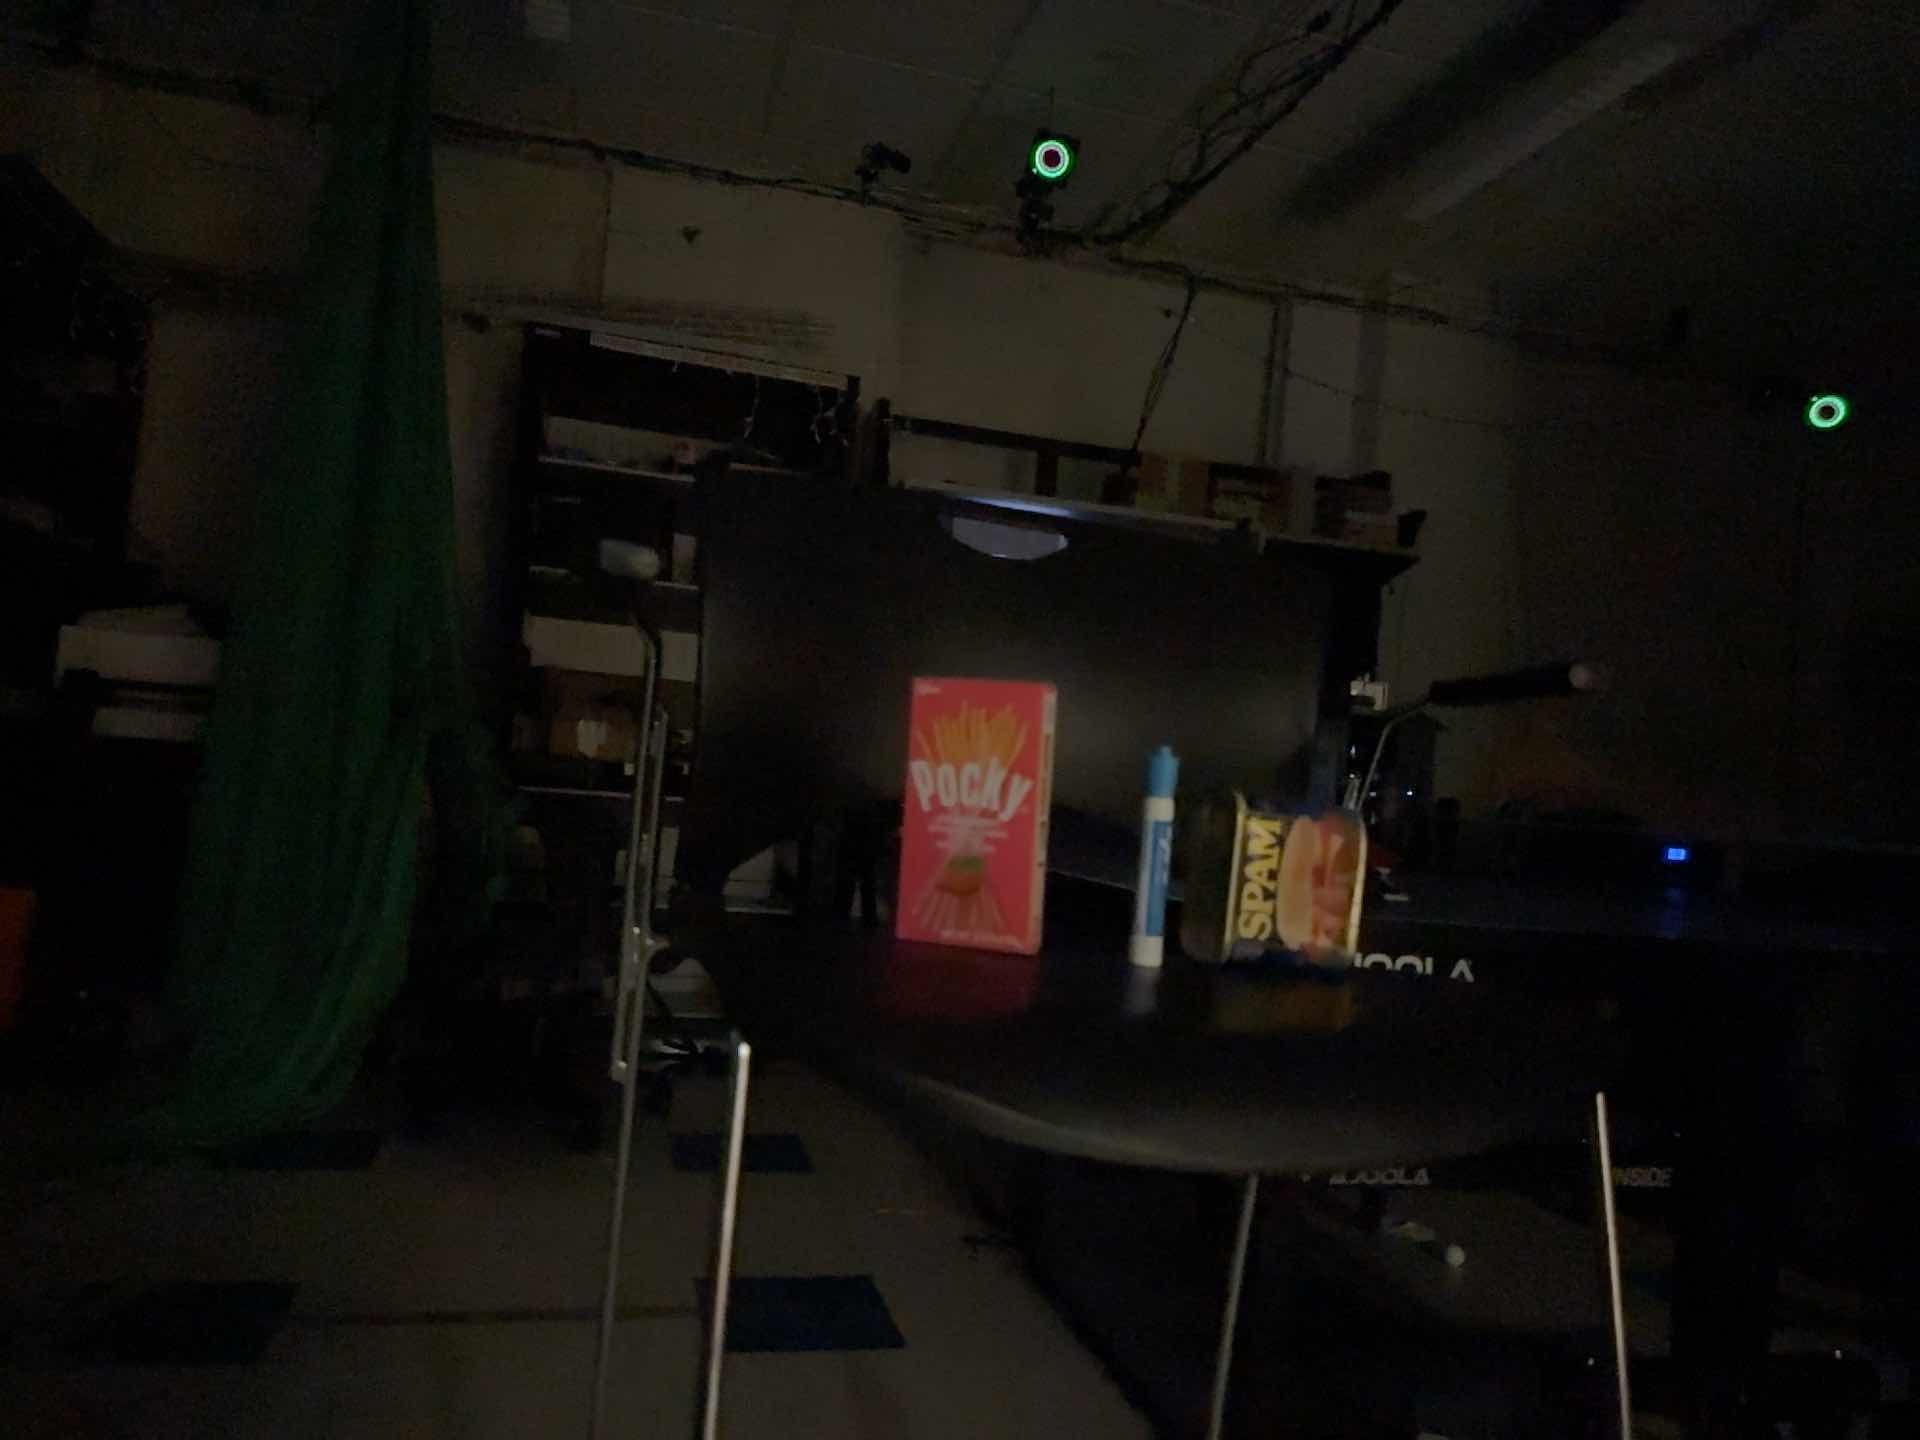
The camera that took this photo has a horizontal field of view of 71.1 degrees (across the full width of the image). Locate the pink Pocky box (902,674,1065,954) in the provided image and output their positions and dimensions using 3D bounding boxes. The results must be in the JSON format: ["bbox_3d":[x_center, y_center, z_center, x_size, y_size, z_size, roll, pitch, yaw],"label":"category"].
[{"bbox_3d":[0.013,0.052,0.771,0.084,0.155,0.029,4,0,21],"label":"pink Pocky box"}]

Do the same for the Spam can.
[{"bbox_3d":[0.193,0.092,0.797,0.083,0.100,0.056,7,-2,-21],"label":"Spam can"}]

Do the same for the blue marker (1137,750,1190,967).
[{"bbox_3d":[0.115,0.078,0.761,0.020,0.121,0.020,5,1,0],"label":"blue marker"}]
